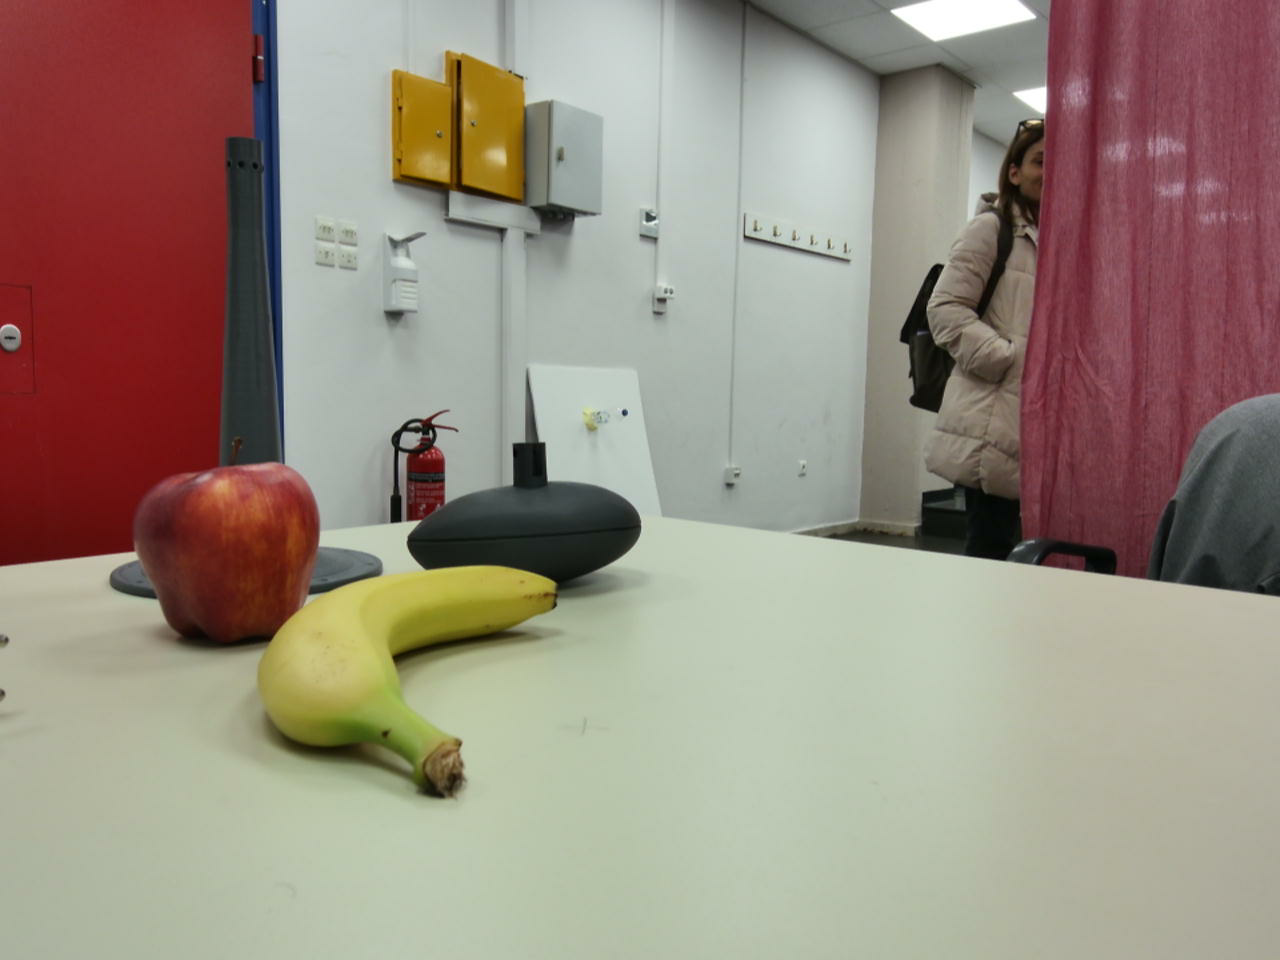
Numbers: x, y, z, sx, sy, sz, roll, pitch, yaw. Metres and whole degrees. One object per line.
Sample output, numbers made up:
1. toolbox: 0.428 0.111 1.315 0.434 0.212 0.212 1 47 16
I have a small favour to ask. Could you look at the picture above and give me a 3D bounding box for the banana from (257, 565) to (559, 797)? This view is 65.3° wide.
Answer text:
1. banana: -0.092 0.063 0.385 0.094 0.041 0.196 1 4 4
